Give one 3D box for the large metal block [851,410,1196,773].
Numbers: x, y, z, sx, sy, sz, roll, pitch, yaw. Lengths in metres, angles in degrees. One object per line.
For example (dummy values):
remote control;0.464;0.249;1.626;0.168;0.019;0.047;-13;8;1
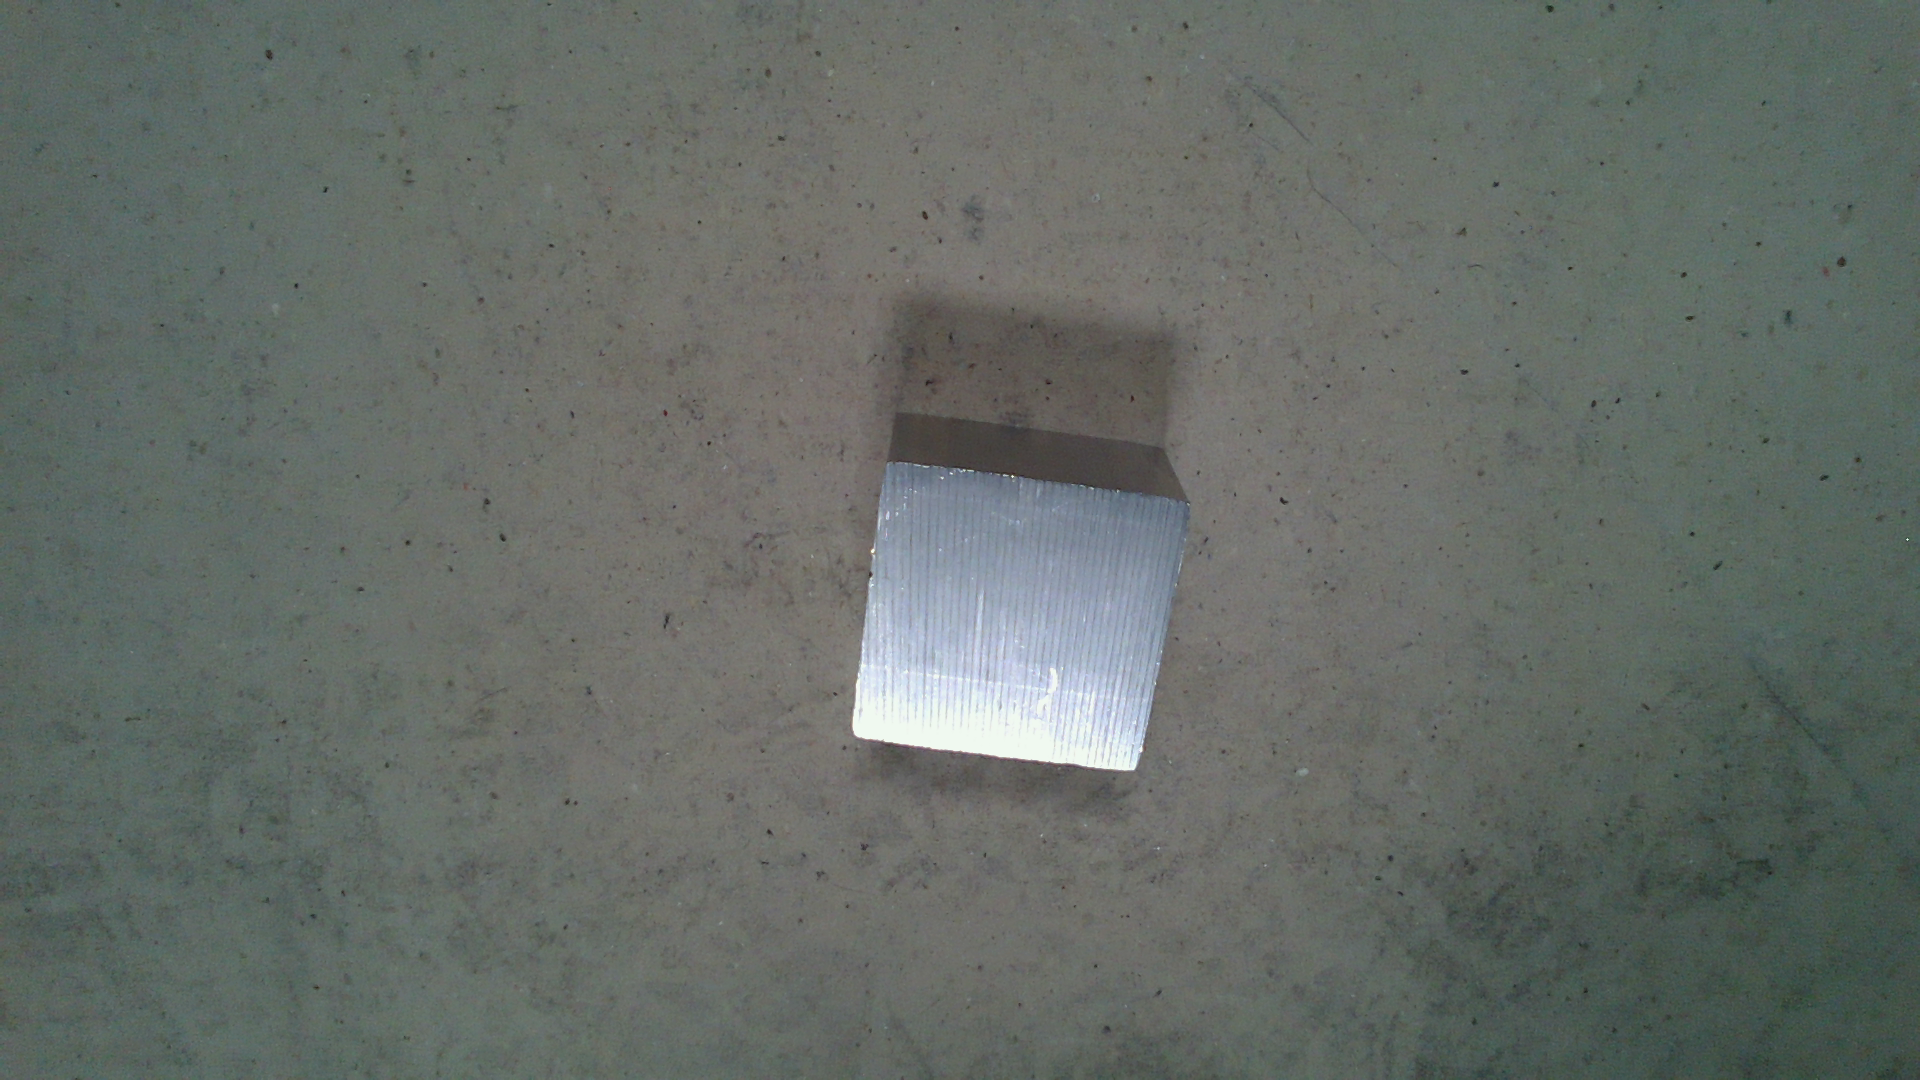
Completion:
large metal block;0.015;0.013;0.386;0.080;0.050;0.080;7;110;-3
